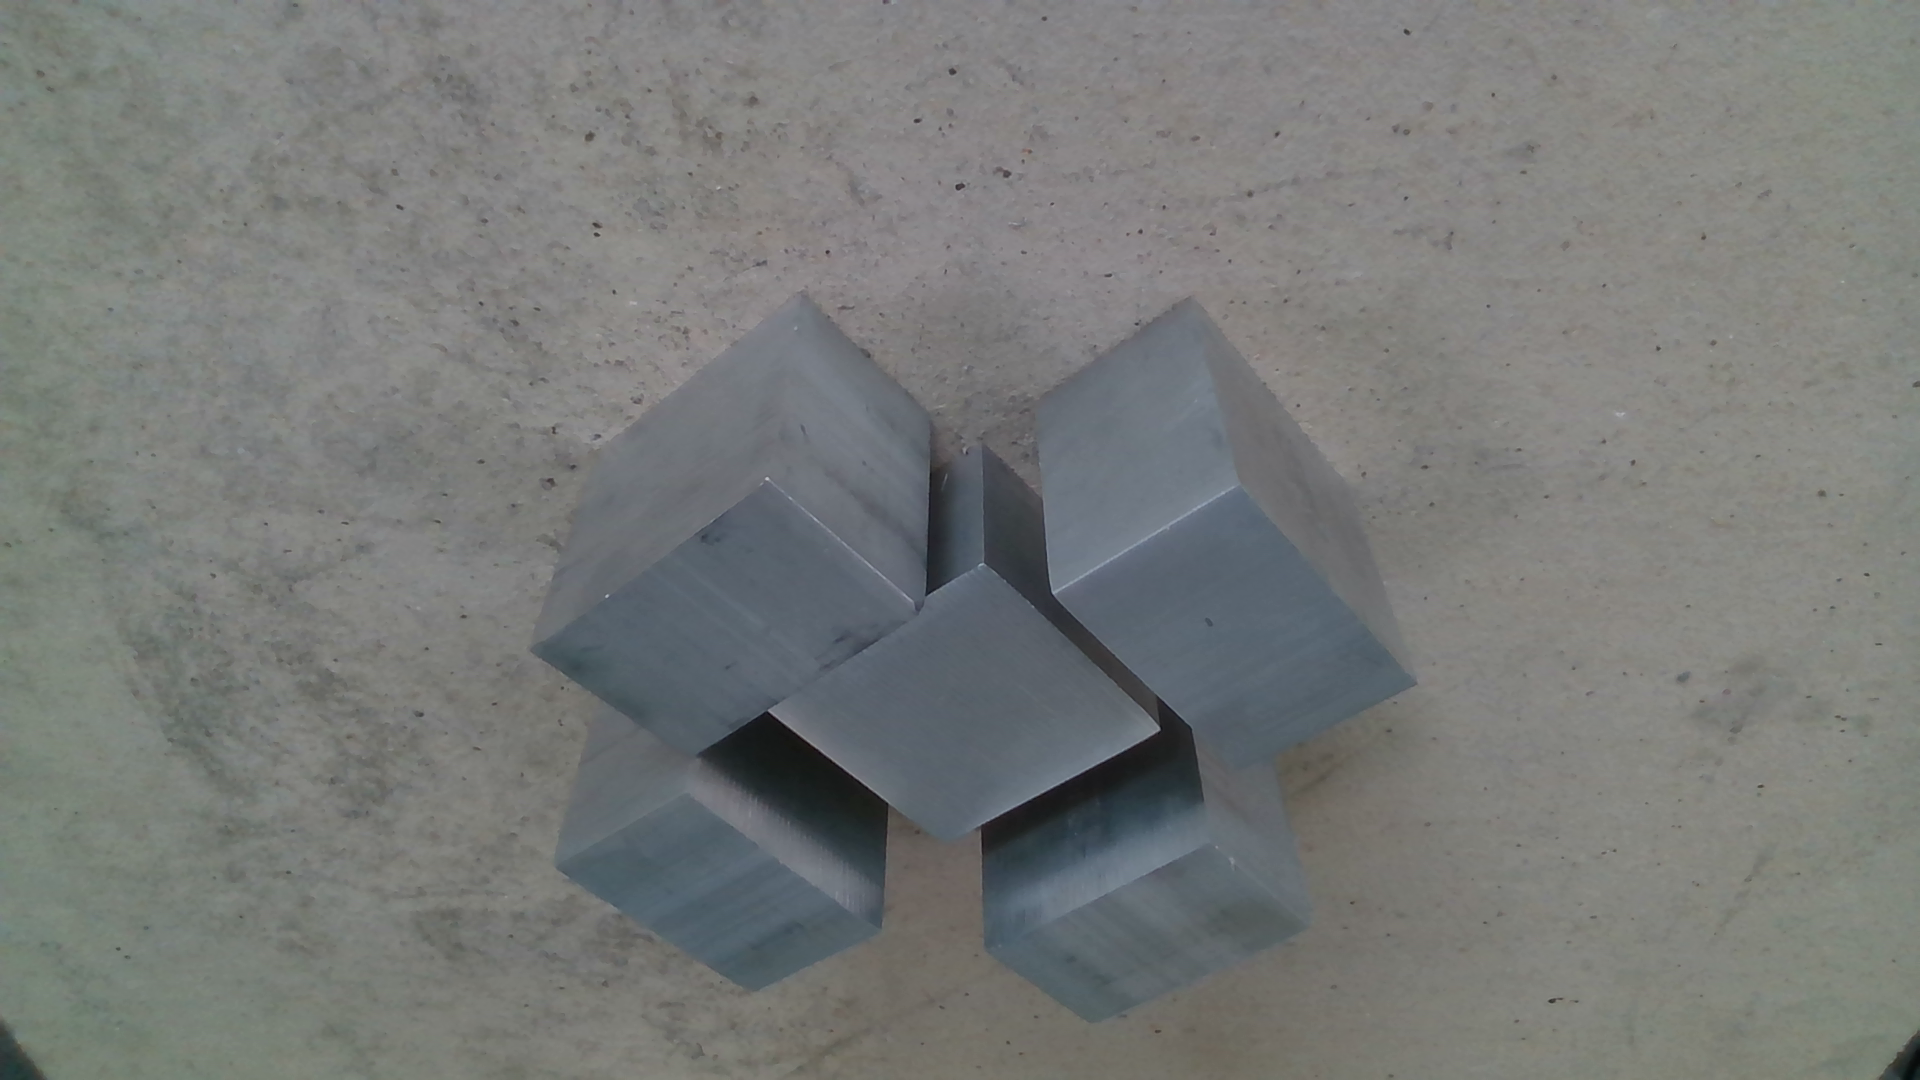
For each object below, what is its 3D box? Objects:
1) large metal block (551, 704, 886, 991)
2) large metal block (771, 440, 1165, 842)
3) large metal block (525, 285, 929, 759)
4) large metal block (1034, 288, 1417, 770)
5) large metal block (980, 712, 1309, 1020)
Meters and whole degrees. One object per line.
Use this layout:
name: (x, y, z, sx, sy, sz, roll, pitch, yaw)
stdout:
large metal block: (-0.067, 0.074, 0.415, 0.050, 0.080, 0.080, -31, 124, 23)
large metal block: (0.000, 0.032, 0.396, 0.080, 0.050, 0.080, -32, 123, 24)
large metal block: (-0.055, -0.005, 0.348, 0.080, 0.080, 0.050, -33, 123, 24)
large metal block: (0.065, -0.003, 0.352, 0.050, 0.080, 0.080, -32, 123, 24)
large metal block: (0.053, 0.088, 0.428, 0.080, 0.080, 0.050, -34, 123, 25)
